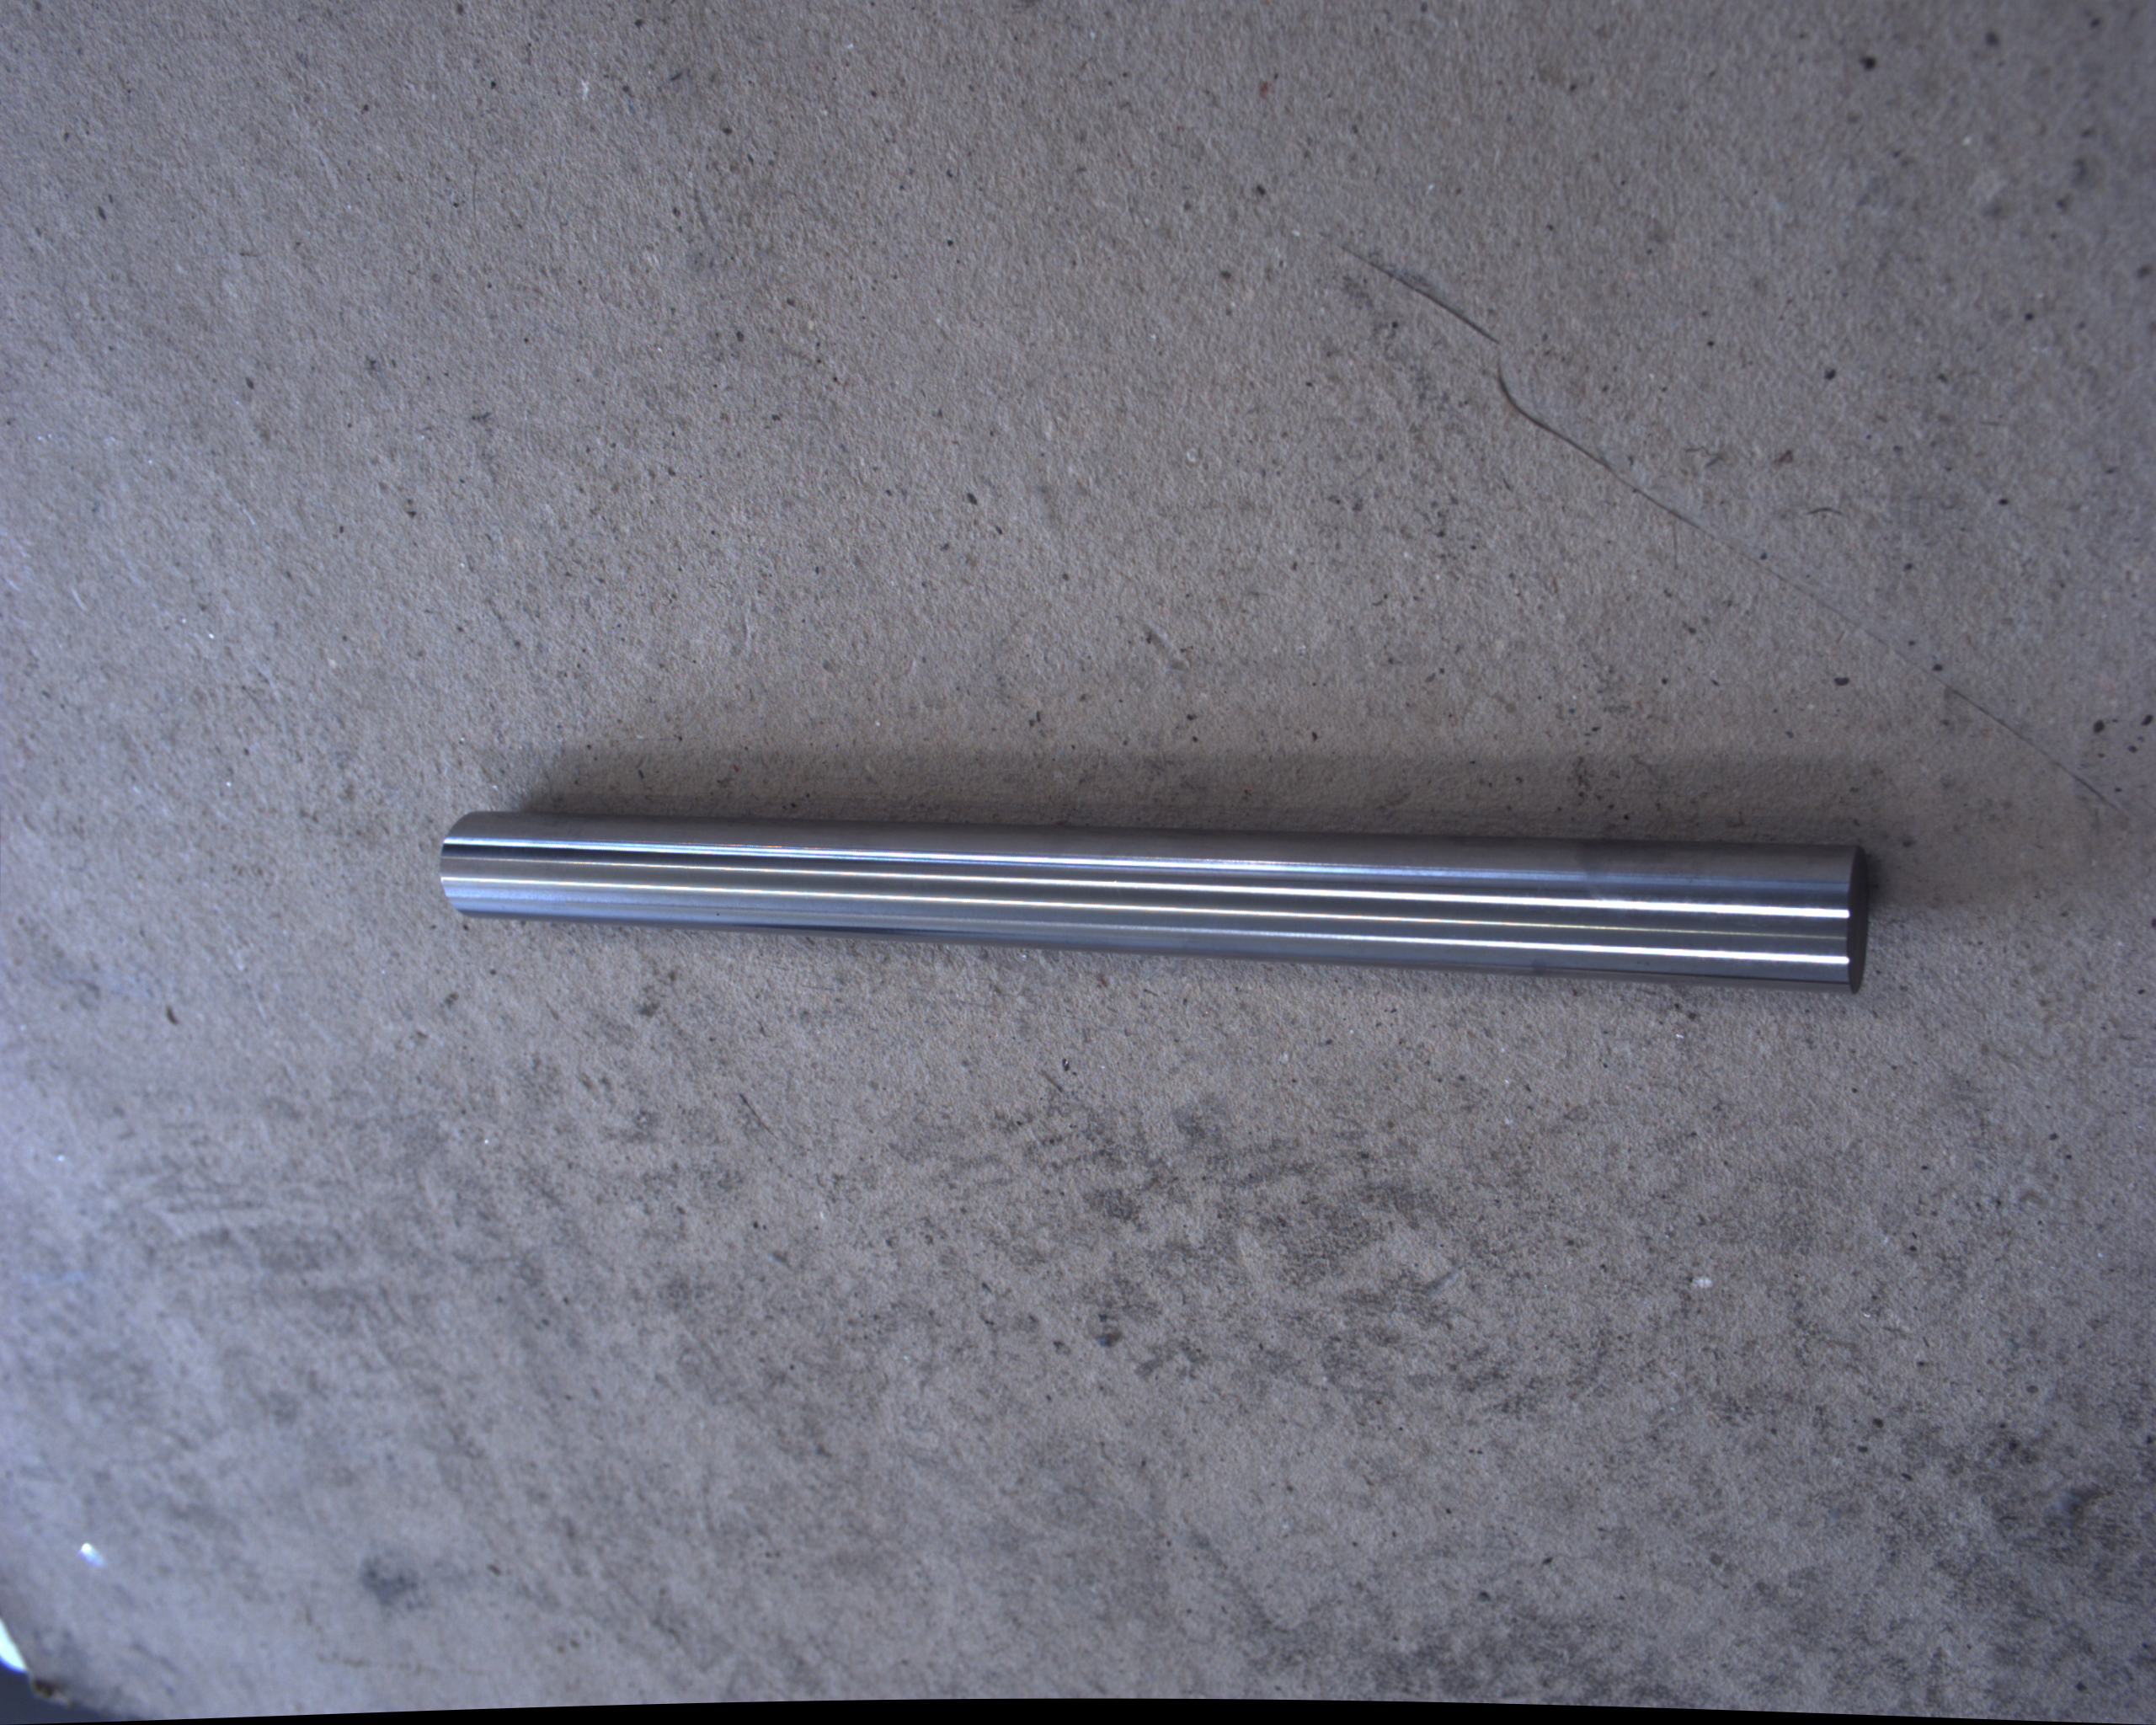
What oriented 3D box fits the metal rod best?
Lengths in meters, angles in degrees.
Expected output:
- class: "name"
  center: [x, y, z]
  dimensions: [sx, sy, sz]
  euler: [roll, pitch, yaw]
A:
- class: "metal rod"
  center: [-0.004, 0.005, 0.414]
  dimensions: [0.300, 0.025, 0.025]
  euler: [2, 119, 27]
